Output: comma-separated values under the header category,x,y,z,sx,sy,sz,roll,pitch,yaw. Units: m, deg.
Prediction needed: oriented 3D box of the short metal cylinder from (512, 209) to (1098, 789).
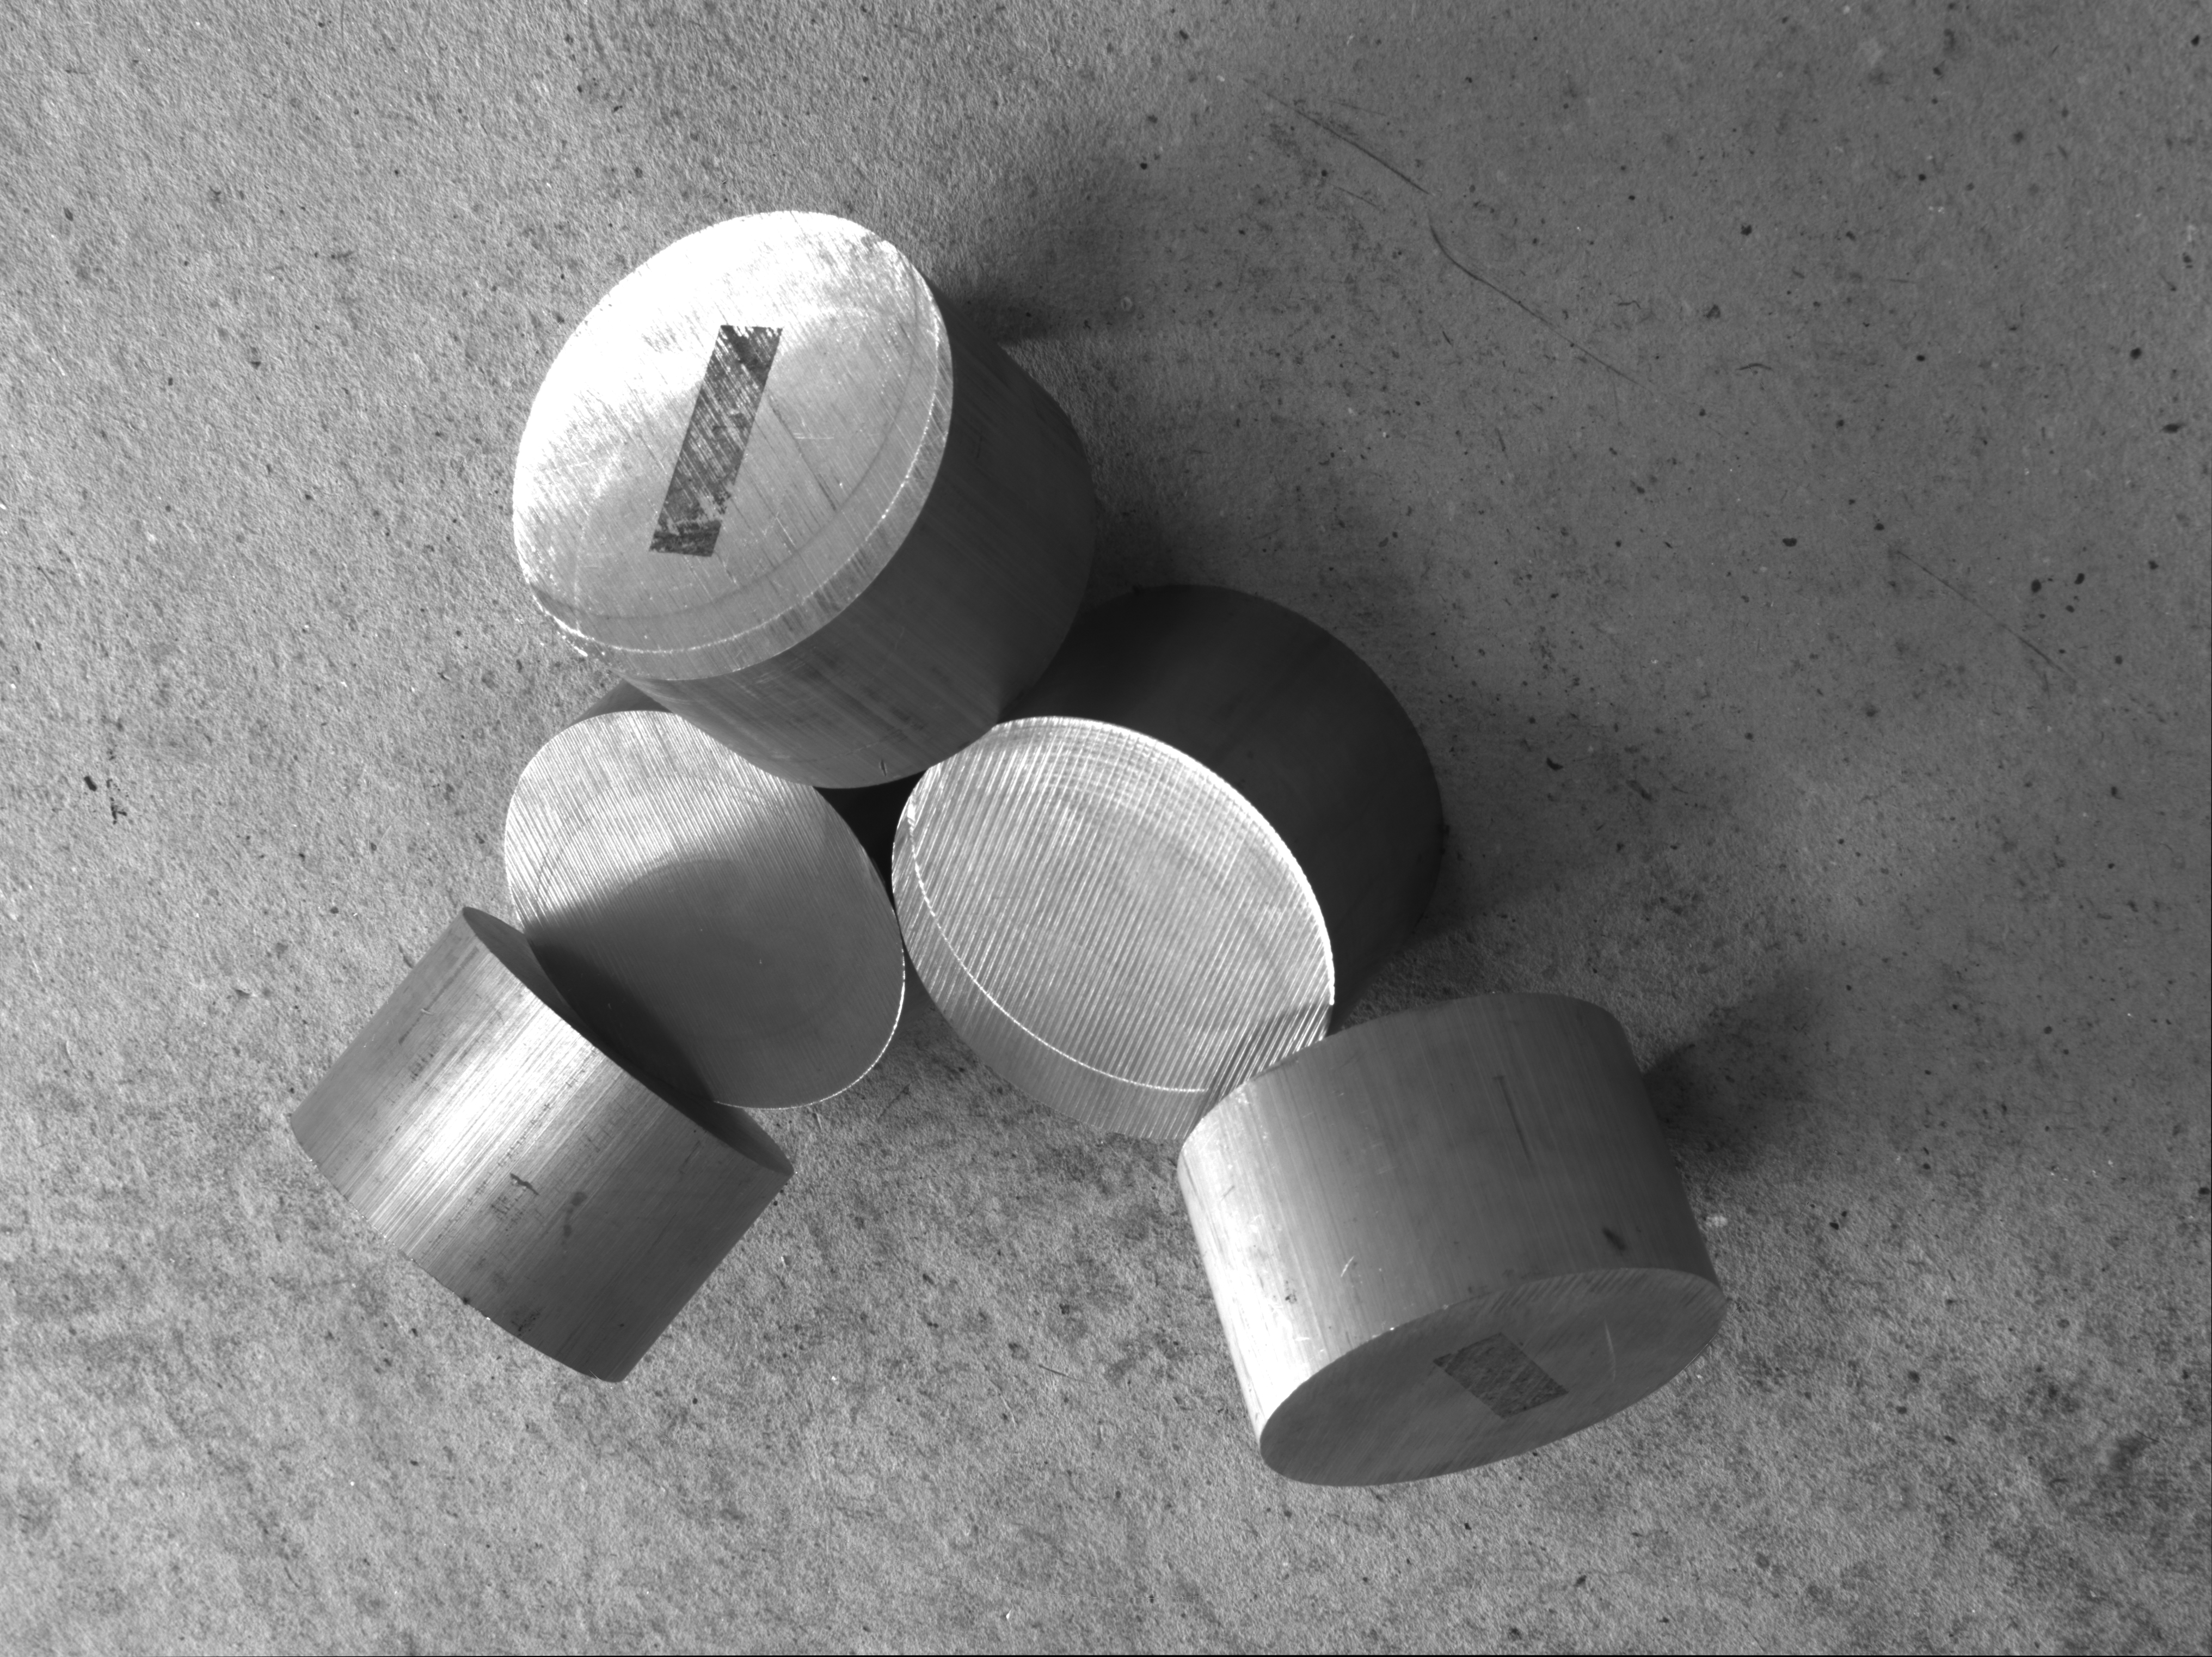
category,x,y,z,sx,sy,sz,roll,pitch,yaw
short metal cylinder,-0.048,-0.052,0.593,0.080,0.080,0.050,2,162,28

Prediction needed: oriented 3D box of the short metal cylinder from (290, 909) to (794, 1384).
category,x,y,z,sx,sy,sz,roll,pitch,yaw
short metal cylinder,-0.106,0.059,0.692,0.080,0.080,0.050,40,89,2

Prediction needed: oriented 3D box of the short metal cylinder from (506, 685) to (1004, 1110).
category,x,y,z,sx,sy,sz,roll,pitch,yaw
short metal cylinder,-0.060,0.003,0.660,0.080,0.050,0.080,13,123,21

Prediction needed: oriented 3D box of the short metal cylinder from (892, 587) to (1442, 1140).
category,x,y,z,sx,sy,sz,roll,pitch,yaw
short metal cylinder,0.011,0.006,0.624,0.080,0.050,0.080,13,123,21

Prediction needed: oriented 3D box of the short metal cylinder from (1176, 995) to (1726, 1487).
category,x,y,z,sx,sy,sz,roll,pitch,yaw
short metal cylinder,0.057,0.070,0.611,0.080,0.080,0.050,-43,52,39
